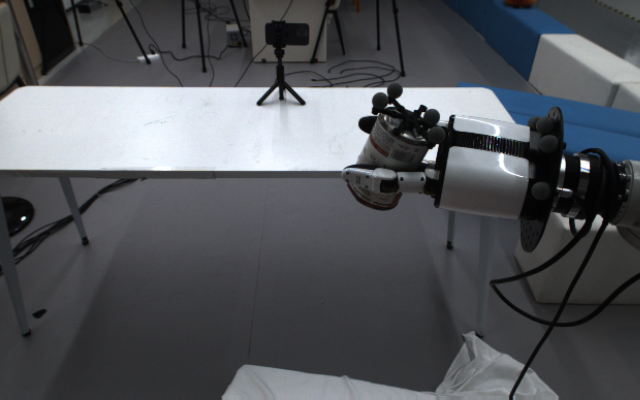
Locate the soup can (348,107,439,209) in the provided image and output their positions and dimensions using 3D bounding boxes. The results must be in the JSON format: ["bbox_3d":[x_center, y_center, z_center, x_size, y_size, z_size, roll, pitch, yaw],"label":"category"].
[{"bbox_3d":[0.081,-0.048,0.560,0.067,0.101,0.067,14,39,-12],"label":"soup can"}]
